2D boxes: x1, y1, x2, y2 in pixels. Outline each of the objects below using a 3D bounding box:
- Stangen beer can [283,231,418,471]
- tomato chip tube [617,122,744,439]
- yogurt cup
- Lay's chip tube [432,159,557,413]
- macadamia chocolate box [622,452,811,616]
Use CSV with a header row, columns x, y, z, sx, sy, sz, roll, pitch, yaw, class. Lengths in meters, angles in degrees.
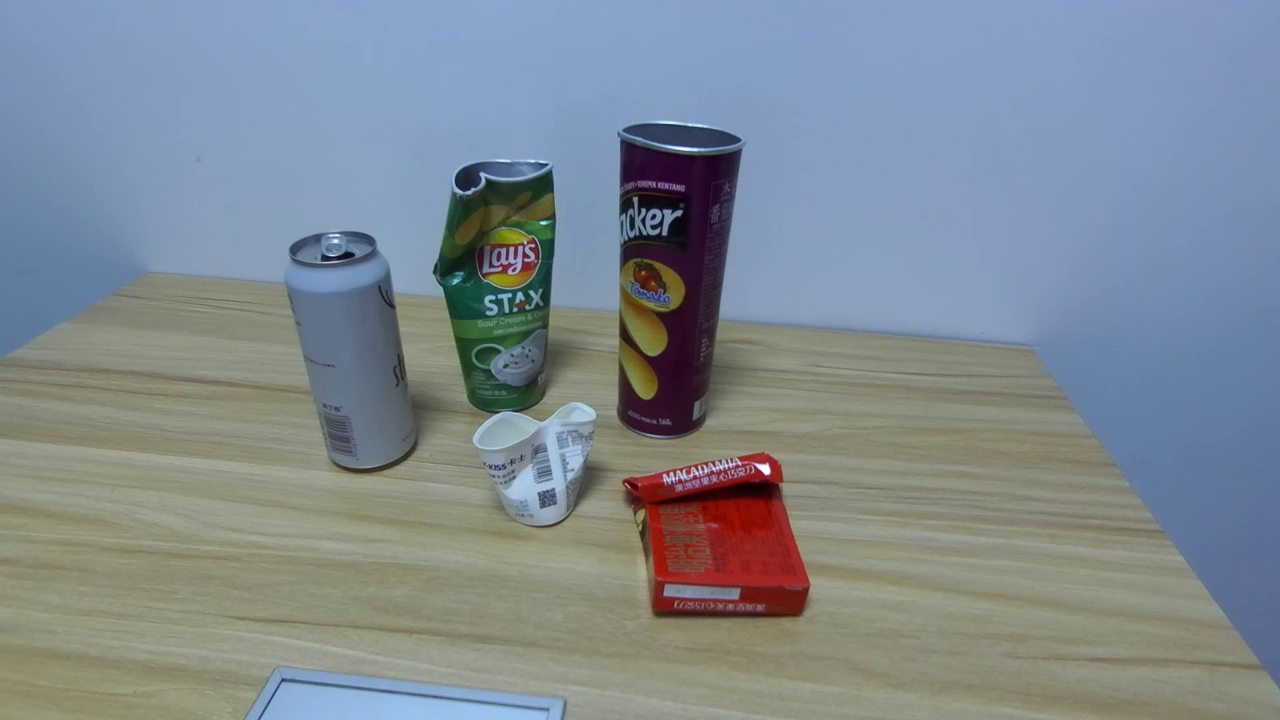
x,y,z,sx,sy,sz,roll,pitch,yaw,class
-0.205,-0.003,0.508,0.067,0.171,0.067,2,31,-1,Stangen beer can
0.024,-0.054,0.539,0.077,0.234,0.080,-14,35,-24,tomato chip tube
-0.070,0.071,0.488,0.053,0.071,0.075,24,39,29,yogurt cup
-0.113,-0.056,0.570,0.069,0.201,0.077,15,36,19,Lay's chip tube
0.046,0.111,0.469,0.112,0.056,0.126,-11,34,6,macadamia chocolate box
